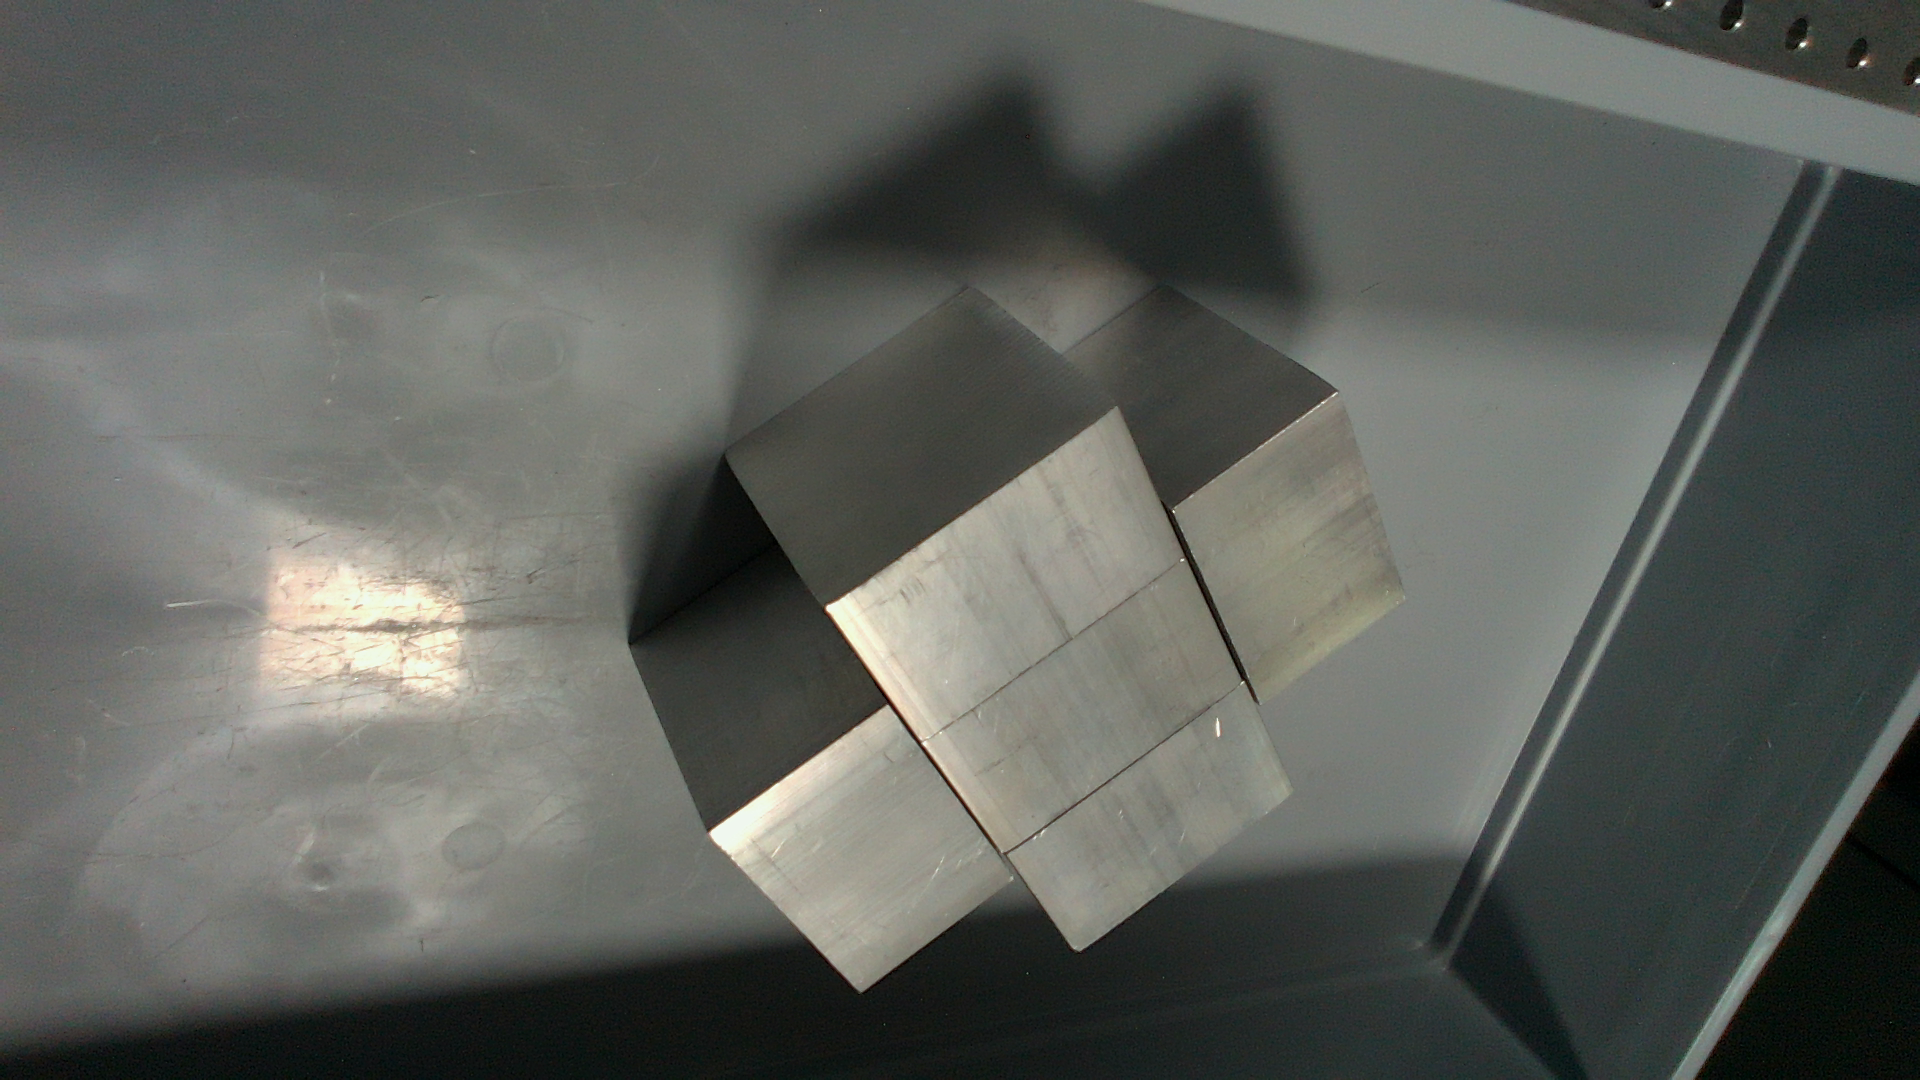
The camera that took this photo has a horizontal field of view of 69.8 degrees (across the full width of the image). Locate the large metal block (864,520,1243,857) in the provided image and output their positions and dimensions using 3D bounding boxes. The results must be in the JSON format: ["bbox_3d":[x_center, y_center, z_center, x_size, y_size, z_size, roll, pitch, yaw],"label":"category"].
[{"bbox_3d":[0.016,0.024,0.377,0.080,0.080,0.050,-35,129,-5],"label":"large metal block"}]

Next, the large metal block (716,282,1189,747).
[{"bbox_3d":[-0.004,-0.010,0.345,0.080,0.080,0.050,-35,129,-5],"label":"large metal block"}]

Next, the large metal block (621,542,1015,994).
[{"bbox_3d":[-0.039,0.059,0.369,0.050,0.080,0.080,-35,129,-5],"label":"large metal block"}]

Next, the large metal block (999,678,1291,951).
[{"bbox_3d":[0.037,0.058,0.409,0.080,0.080,0.050,-35,129,-5],"label":"large metal block"}]

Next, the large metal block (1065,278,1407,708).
[{"bbox_3d":[0.070,-0.014,0.382,0.050,0.080,0.080,-35,129,-5],"label":"large metal block"}]
